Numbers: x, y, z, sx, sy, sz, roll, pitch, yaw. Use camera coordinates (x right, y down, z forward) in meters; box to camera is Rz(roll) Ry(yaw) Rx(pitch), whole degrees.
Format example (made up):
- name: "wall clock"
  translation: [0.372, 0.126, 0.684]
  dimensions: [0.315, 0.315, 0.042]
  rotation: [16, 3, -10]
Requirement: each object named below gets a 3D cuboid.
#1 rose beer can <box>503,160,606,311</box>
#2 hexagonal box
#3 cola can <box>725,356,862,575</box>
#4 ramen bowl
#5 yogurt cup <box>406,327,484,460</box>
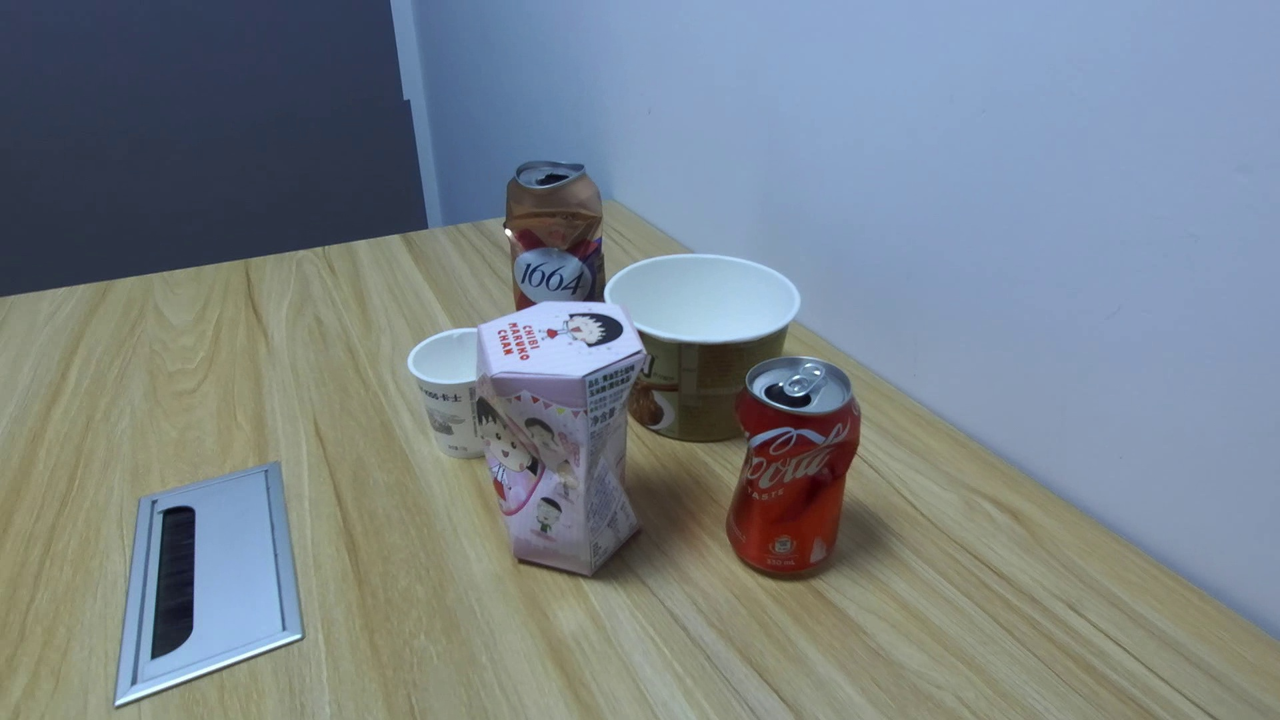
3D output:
- name: "rose beer can"
  translation: [-0.065, -0.074, 0.565]
  dimensions: [0.074, 0.162, 0.068]
  rotation: [-10, 32, -14]
- name: "hexagonal box"
  translation: [-0.042, 0.041, 0.402]
  dimensions: [0.088, 0.135, 0.093]
  rotation: [21, 37, 30]
- name: "cola can"
  translation: [0.083, 0.057, 0.390]
  dimensions: [0.066, 0.117, 0.066]
  rotation: [-1, 32, -1]
- name: "ramen bowl"
  translation: [0.044, -0.009, 0.522]
  dimensions: [0.140, 0.095, 0.140]
  rotation: [1, 32, 0]
- name: "yogurt cup"
  translation: [-0.119, 0.025, 0.491]
  dimensions: [0.072, 0.068, 0.072]
  rotation: [0, 31, 0]
